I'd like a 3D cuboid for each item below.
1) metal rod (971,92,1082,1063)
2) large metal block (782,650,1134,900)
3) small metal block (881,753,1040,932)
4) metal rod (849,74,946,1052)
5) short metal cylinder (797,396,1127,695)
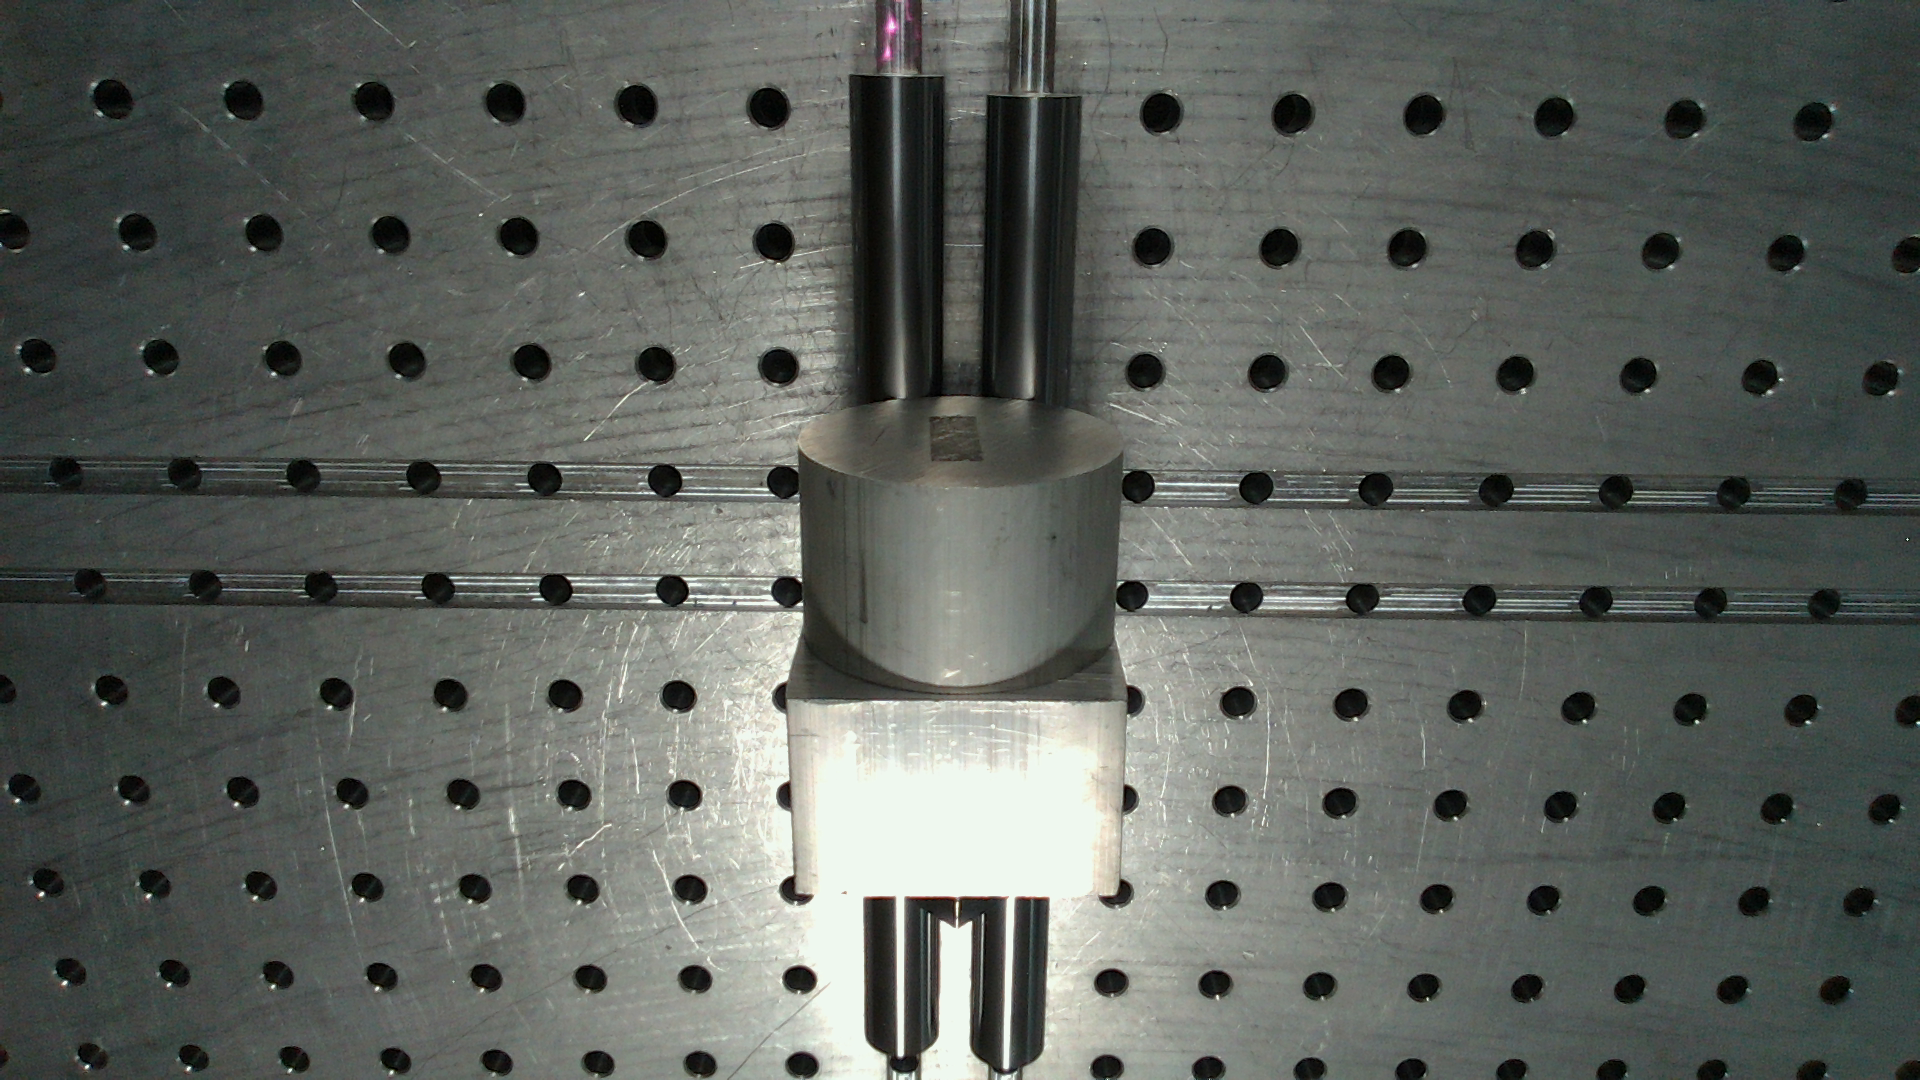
[{"bbox_3d":[0.017,0.025,0.407,0.025,0.025,0.300,1,110,0],"label":"metal rod"},{"bbox_3d":[0.000,0.049,0.359,0.080,0.080,0.050,0,110,0],"label":"large metal block"},{"bbox_3d":[-0.001,0.078,0.388,0.050,0.050,0.025,-18,118,-42],"label":"small metal block"},{"bbox_3d":[-0.018,0.021,0.405,0.025,0.025,0.300,1,110,0],"label":"metal rod"},{"bbox_3d":[0.000,-0.002,0.344,0.080,0.080,0.050,1,110,0],"label":"short metal cylinder"}]
